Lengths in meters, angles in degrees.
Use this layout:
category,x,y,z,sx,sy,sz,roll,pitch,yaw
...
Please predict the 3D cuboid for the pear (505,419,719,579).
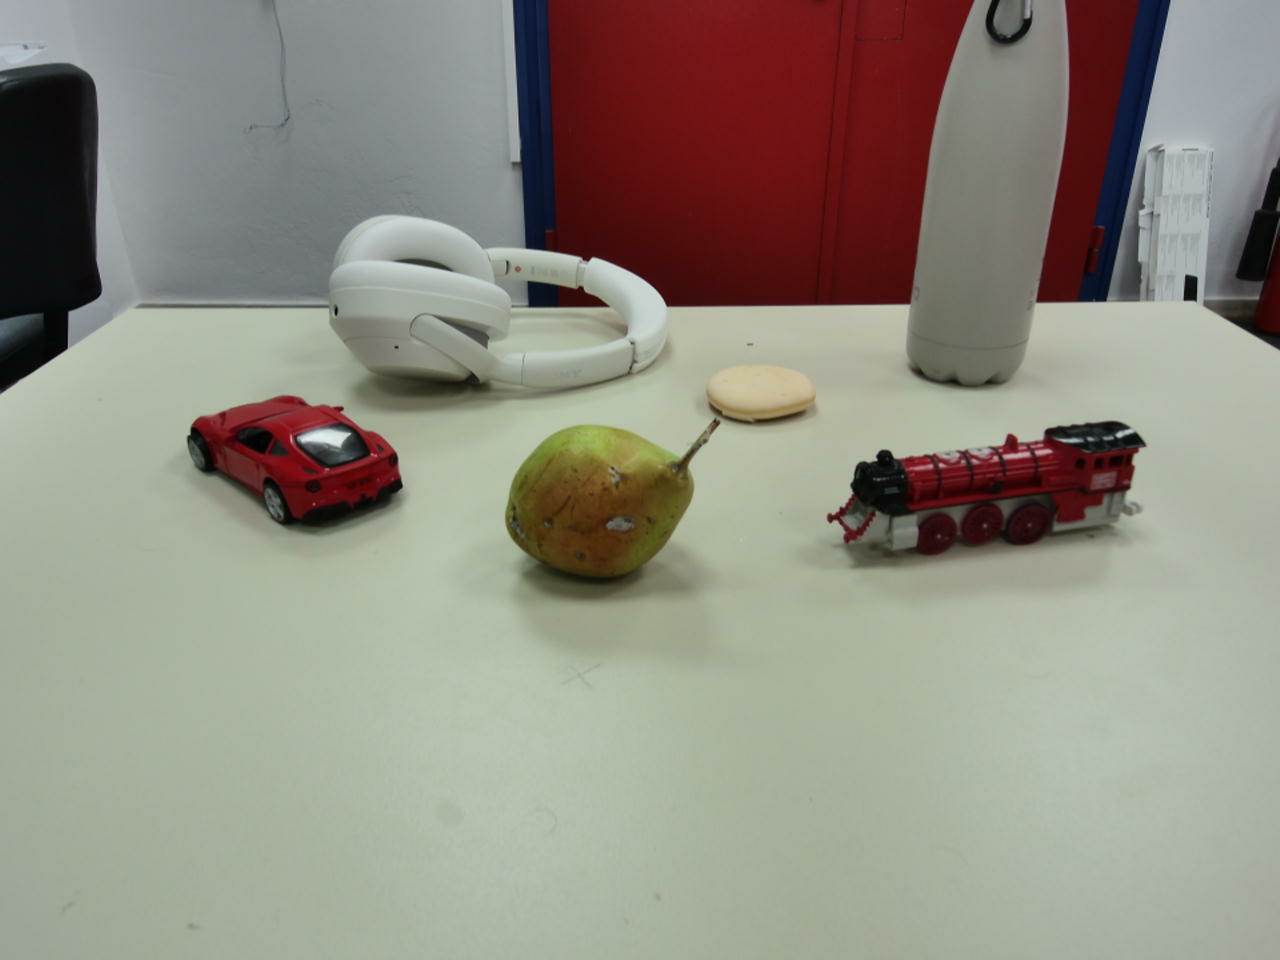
category,x,y,z,sx,sy,sz,roll,pitch,yaw
pear,-0.016,0.006,0.408,0.068,0.069,0.070,-19,30,-35
